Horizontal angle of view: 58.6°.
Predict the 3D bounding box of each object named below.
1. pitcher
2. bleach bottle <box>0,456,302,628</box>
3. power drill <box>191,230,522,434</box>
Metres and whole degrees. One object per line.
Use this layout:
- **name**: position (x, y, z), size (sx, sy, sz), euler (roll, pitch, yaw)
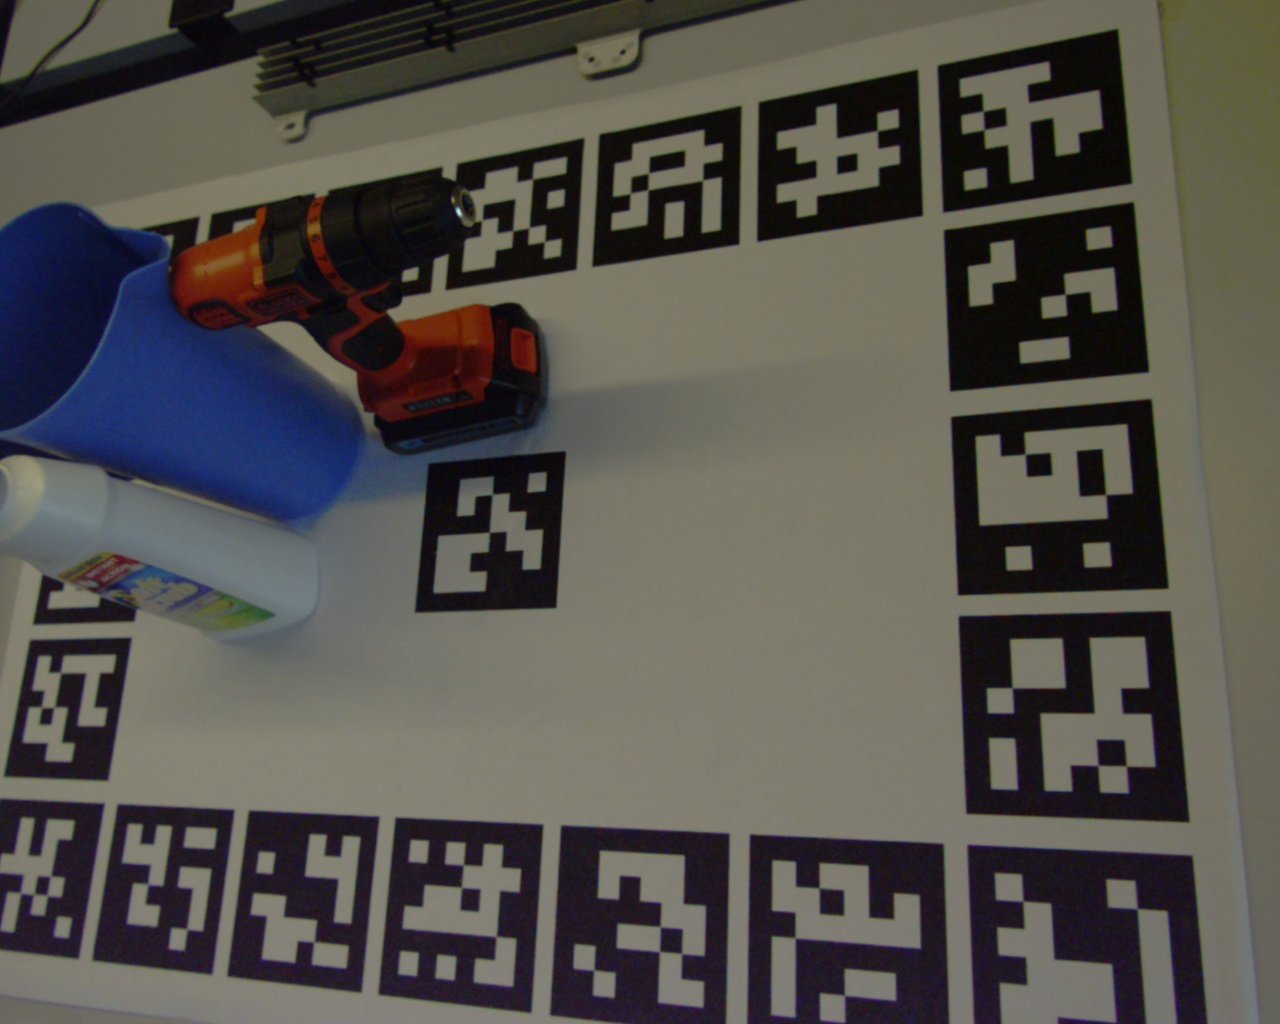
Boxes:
- **pitcher**: position (-0.301, -0.078, 0.734), size (0.190, 0.240, 0.134), euler (-31, 68, 13)
- **bleach bottle**: position (-0.322, 0.017, 0.695), size (0.103, 0.248, 0.068), euler (-12, 72, 20)
- **power drill**: position (-0.141, -0.104, 0.682), size (0.186, 0.185, 0.057), euler (-8, 76, 15)
